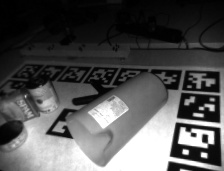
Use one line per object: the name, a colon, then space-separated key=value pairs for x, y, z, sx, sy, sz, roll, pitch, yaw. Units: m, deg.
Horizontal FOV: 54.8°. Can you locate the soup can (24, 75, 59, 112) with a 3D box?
soup can: x=-0.219 y=0.027 z=0.683 sx=0.067 sy=0.103 sz=0.067 roll=-11 pitch=39 yaw=10

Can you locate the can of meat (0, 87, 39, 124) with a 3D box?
can of meat: x=-0.284 y=0.066 z=0.647 sx=0.084 sy=0.103 sz=0.057 roll=-24 pitch=40 yaw=-5

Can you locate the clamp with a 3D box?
clamp: x=-0.047 y=0.027 z=0.696 sx=0.163 sy=0.037 sz=0.122 roll=7 pitch=39 yaw=19

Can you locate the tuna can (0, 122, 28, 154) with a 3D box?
tuna can: x=-0.284 y=0.147 z=0.607 sx=0.085 sy=0.034 sz=0.085 roll=-8 pitch=40 yaw=8

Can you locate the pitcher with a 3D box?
pitcher: x=0.011 y=0.057 z=0.543 sx=0.244 sy=0.134 sz=0.186 roll=-36 pitch=20 yaw=-35
